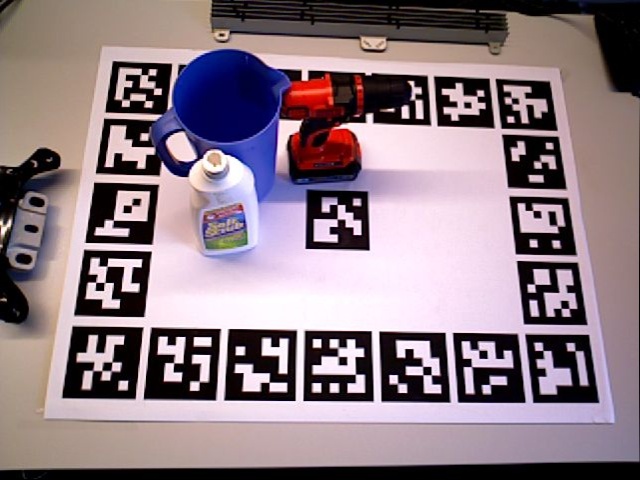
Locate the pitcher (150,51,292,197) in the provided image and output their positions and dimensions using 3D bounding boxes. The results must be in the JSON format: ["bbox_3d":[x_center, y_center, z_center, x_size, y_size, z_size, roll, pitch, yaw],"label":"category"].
[{"bbox_3d":[-0.124,-0.139,0.737,0.187,0.246,0.133,-26,77,-11],"label":"pitcher"}]

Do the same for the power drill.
[{"bbox_3d":[0.041,-0.152,0.761,0.183,0.190,0.057,-3,75,-11],"label":"power drill"}]

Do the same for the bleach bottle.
[{"bbox_3d":[-0.131,-0.049,0.688,0.102,0.254,0.067,-7,72,-6],"label":"bleach bottle"}]
